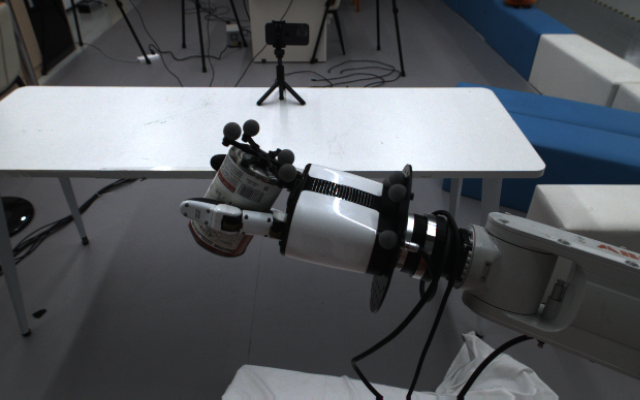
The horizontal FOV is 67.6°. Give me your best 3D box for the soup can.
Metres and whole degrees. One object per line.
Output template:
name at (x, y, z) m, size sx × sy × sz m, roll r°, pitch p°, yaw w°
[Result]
soup can at (-0.084, 0.001, 0.509) m, size 0.067 × 0.101 × 0.067 m, roll 28°, pitch 22°, yaw -12°
